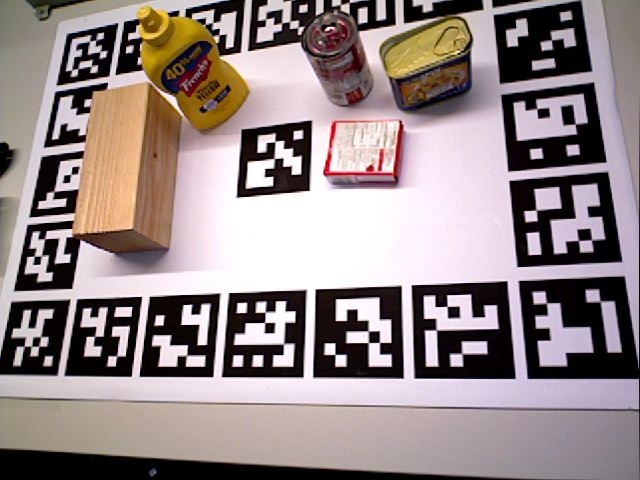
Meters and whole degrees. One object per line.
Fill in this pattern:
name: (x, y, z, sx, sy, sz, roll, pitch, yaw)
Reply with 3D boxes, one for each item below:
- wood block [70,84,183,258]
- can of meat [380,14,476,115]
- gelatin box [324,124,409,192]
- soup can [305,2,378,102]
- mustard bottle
wood block: (-0.252, -0.089, 0.712, 0.091, 0.090, 0.204, -2, 68, 14)
can of meat: (0.127, -0.200, 0.632, 0.102, 0.084, 0.057, -17, 68, 8)
gelatin box: (0.056, -0.098, 0.645, 0.090, 0.030, 0.073, 6, 76, 21)
soup can: (0.029, -0.221, 0.649, 0.068, 0.102, 0.067, -5, 71, 15)
mustard bottle: (-0.167, -0.211, 0.674, 0.096, 0.192, 0.058, -27, 65, 4)
